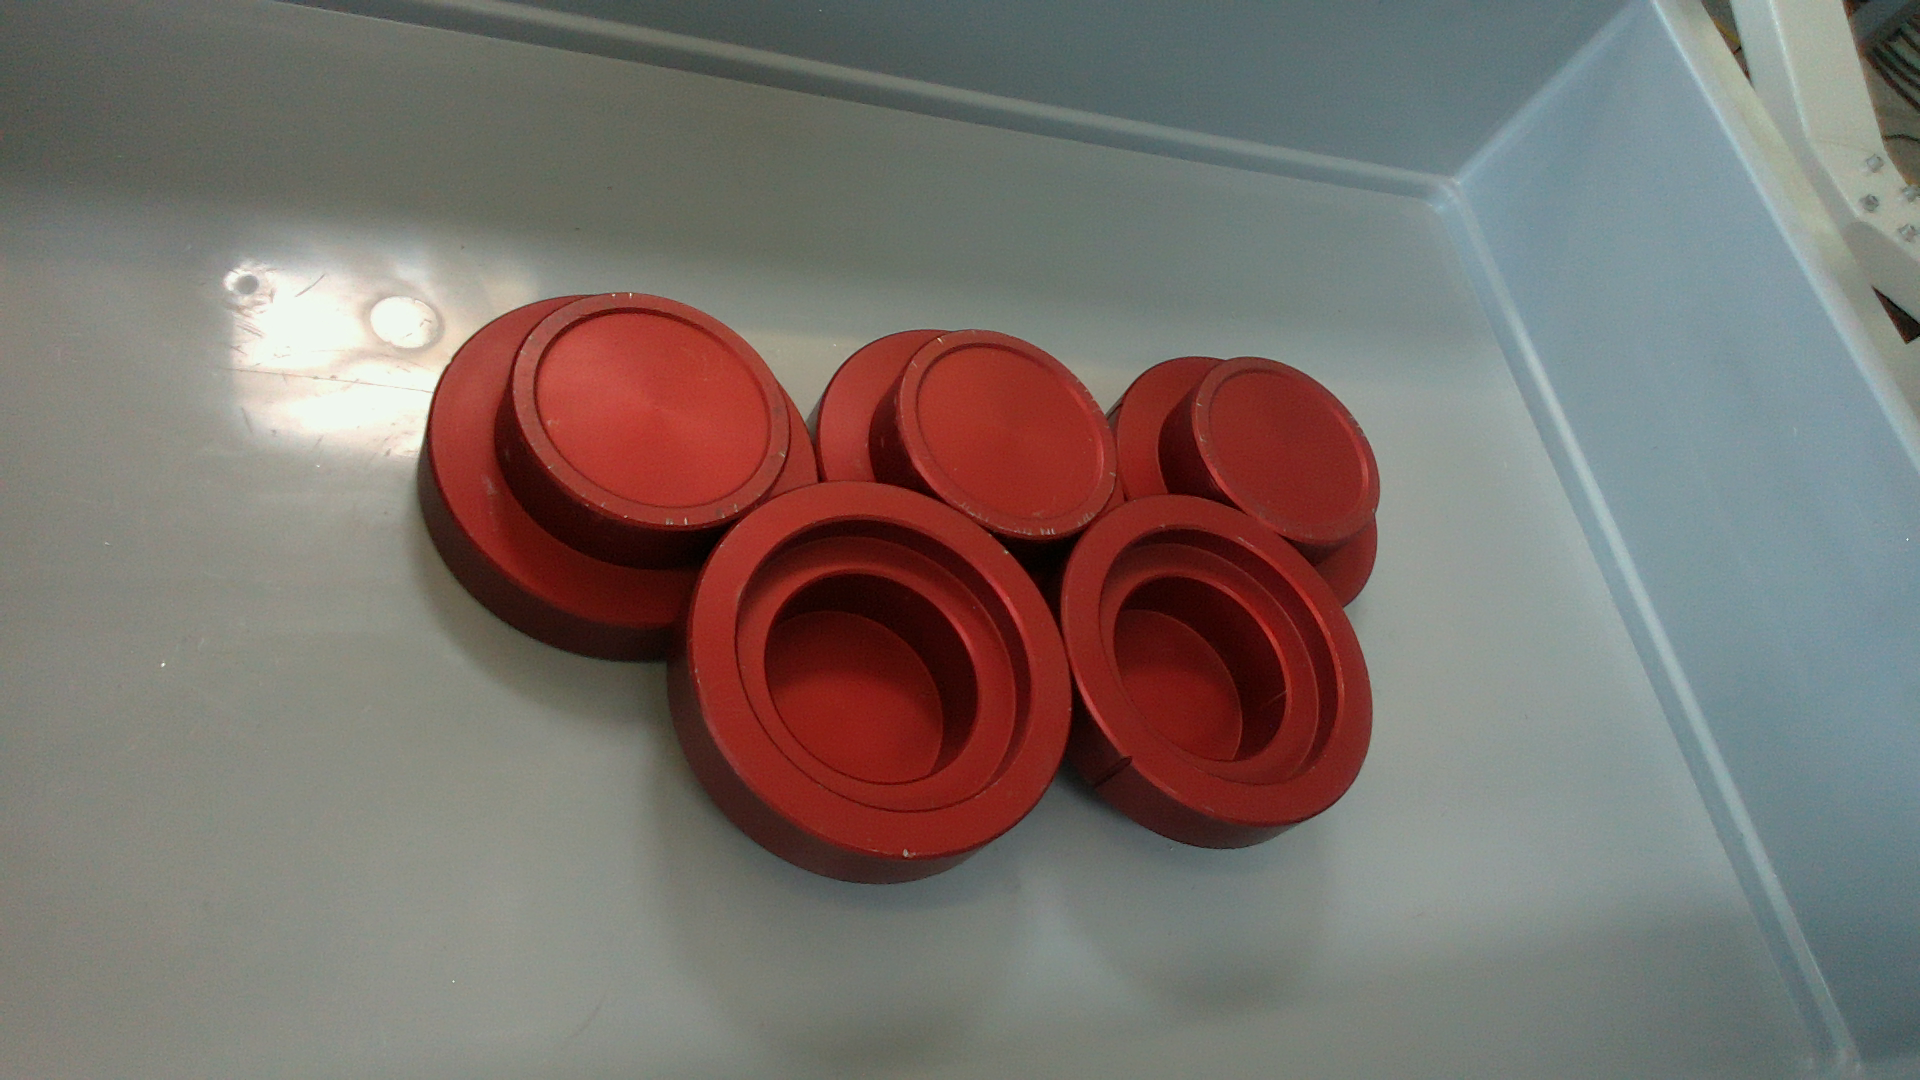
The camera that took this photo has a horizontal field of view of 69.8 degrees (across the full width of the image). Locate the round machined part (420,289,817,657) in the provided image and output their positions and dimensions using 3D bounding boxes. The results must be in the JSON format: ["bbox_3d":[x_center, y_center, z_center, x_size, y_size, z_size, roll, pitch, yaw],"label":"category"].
[{"bbox_3d":[-0.082,-0.024,0.346,0.098,0.042,0.098,14,54,-21],"label":"round machined part"}]

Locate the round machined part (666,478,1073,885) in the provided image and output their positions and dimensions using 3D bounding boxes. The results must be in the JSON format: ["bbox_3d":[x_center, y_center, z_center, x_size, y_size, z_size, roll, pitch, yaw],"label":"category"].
[{"bbox_3d":[-0.025,0.037,0.341,0.098,0.042,0.098,14,56,-21],"label":"round machined part"}]

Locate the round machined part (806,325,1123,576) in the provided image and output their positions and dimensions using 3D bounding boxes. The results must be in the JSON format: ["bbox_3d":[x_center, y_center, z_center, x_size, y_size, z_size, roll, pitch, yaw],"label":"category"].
[{"bbox_3d":[0.005,-0.022,0.392,0.098,0.042,0.098,13,55,-20],"label":"round machined part"}]

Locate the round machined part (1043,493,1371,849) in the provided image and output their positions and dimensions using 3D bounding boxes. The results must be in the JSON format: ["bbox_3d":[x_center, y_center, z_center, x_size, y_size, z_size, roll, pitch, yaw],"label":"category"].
[{"bbox_3d":[0.062,0.039,0.387,0.098,0.042,0.098,14,56,-21],"label":"round machined part"}]

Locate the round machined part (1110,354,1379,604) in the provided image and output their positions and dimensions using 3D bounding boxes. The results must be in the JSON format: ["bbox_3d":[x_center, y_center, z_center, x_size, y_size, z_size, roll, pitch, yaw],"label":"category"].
[{"bbox_3d":[0.092,-0.019,0.437,0.098,0.042,0.098,13,55,-20],"label":"round machined part"}]
